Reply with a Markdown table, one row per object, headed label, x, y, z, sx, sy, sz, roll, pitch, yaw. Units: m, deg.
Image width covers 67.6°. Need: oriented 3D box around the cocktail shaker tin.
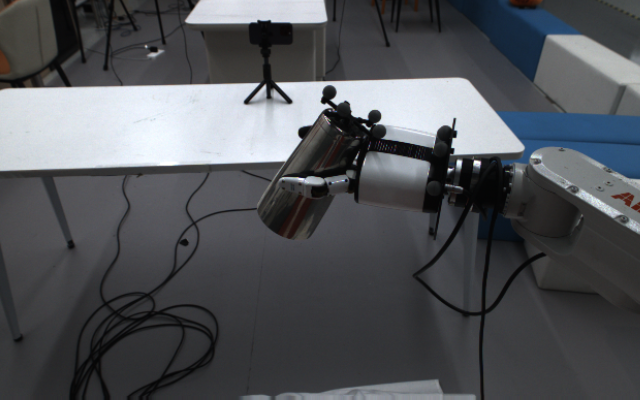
| label | x | y | z | sx | sy | sz | roll | pitch | yaw |
| --- | --- | --- | --- | --- | --- | --- | --- | --- | --- |
| cocktail shaker tin | -0.008 | -0.041 | 0.659 | 0.093 | 0.170 | 0.093 | 26 | 32 | -17 |
